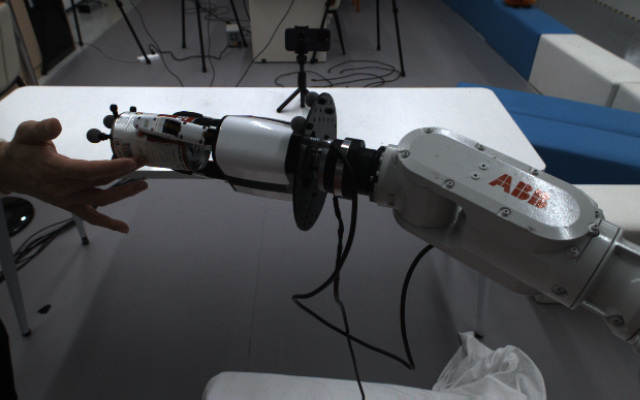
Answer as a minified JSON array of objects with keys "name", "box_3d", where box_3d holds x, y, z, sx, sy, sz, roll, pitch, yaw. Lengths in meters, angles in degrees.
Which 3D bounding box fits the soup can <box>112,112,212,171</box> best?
[{"name":"soup can","box_3d":[-0.194,-0.072,0.601,0.101,0.067,0.067,6,35,11]}]
